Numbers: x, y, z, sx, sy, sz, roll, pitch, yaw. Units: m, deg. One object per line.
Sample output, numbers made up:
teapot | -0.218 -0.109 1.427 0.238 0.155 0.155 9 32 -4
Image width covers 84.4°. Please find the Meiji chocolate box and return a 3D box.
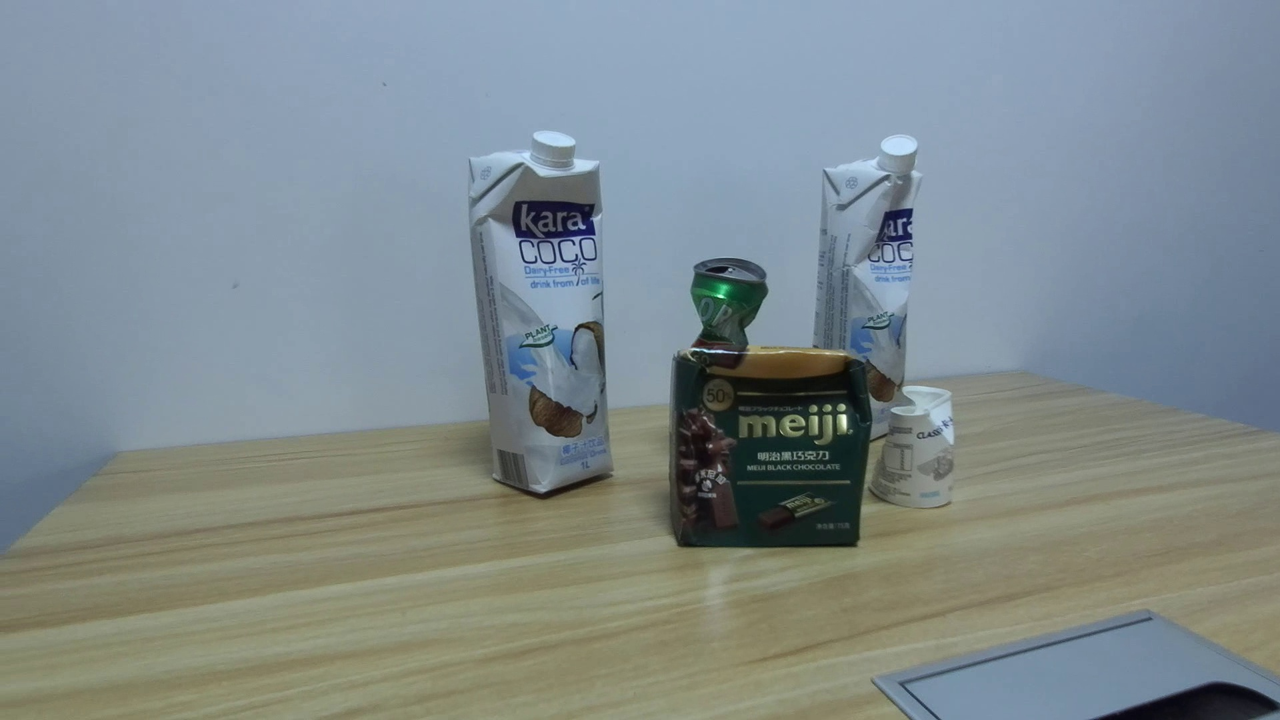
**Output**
Meiji chocolate box | 0.074 0.055 0.436 0.113 0.110 0.058 1 -2 1

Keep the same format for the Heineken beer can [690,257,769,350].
Heineken beer can | 0.067 0.002 0.555 0.067 0.159 0.078 -9 19 -20

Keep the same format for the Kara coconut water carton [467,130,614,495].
Kara coconut water carton | -0.067 -0.033 0.504 0.100 0.244 0.071 -14 16 -43

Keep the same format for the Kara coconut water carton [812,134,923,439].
Kara coconut water carton | 0.194 -0.060 0.613 0.083 0.255 0.078 -7 15 -29
